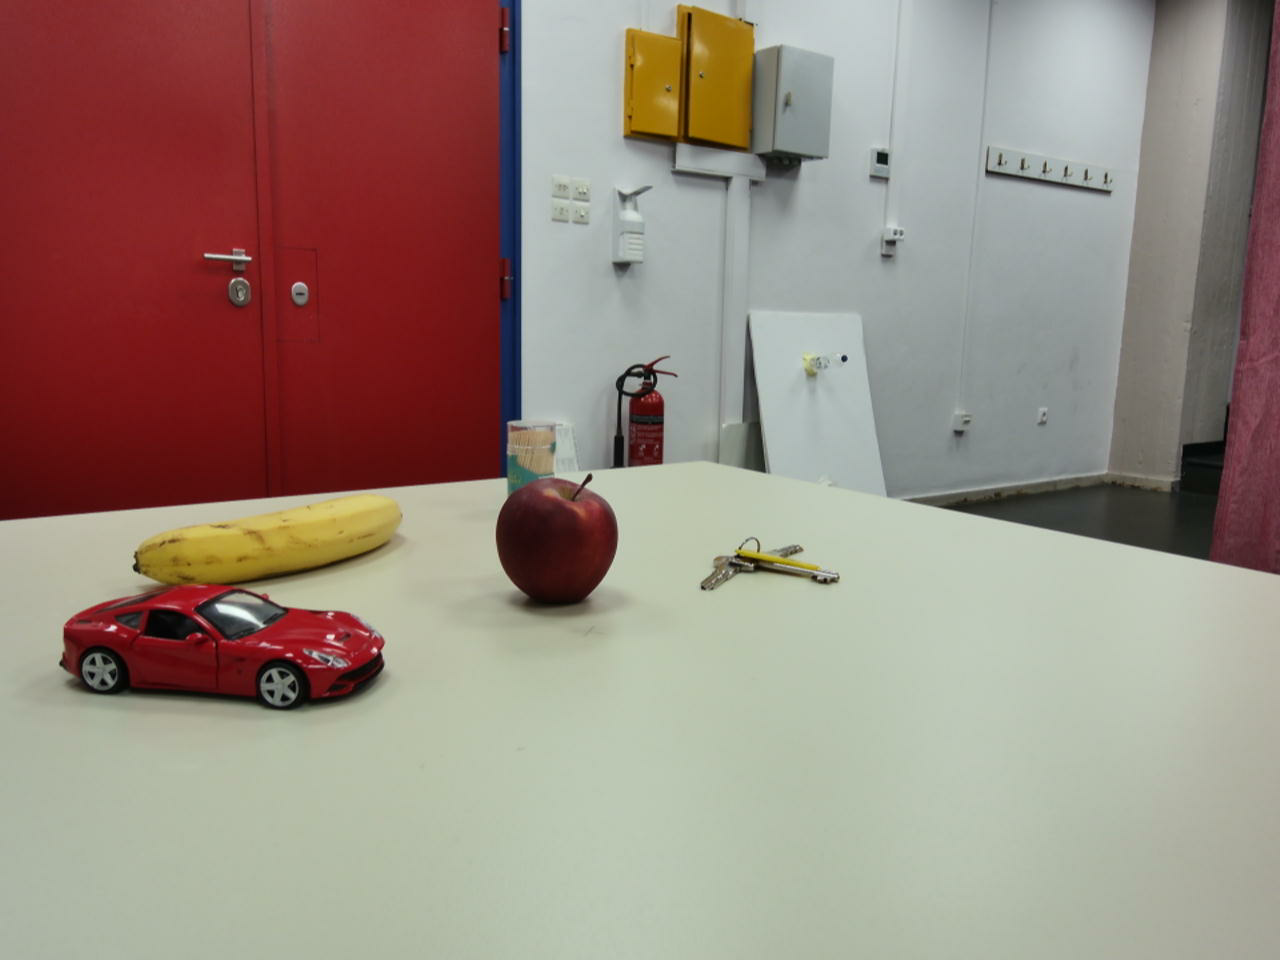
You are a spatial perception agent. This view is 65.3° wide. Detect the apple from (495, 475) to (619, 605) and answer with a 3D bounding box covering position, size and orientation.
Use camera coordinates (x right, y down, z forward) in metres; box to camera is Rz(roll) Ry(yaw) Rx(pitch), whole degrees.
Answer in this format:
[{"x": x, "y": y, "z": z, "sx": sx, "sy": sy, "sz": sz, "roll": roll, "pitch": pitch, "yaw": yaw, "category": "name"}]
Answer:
[{"x": -0.048, "y": 0.033, "z": 0.573, "sx": 0.070, "sy": 0.072, "sz": 0.070, "roll": 0, "pitch": 8, "yaw": 0, "category": "apple"}]
